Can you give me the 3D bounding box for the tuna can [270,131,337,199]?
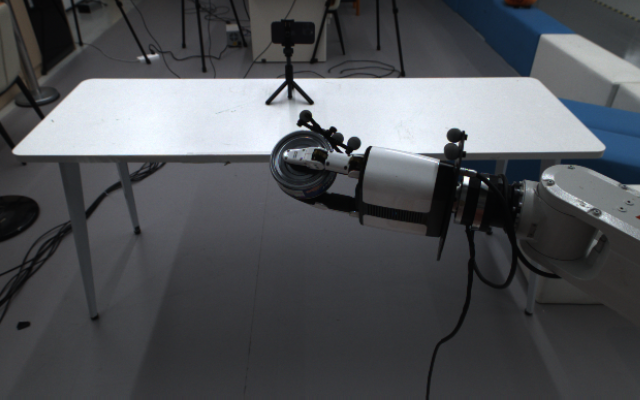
[{"bbox_3d":[-0.020,-0.048,0.628,0.085,0.034,0.085,-4,69,10],"label":"tuna can"}]
